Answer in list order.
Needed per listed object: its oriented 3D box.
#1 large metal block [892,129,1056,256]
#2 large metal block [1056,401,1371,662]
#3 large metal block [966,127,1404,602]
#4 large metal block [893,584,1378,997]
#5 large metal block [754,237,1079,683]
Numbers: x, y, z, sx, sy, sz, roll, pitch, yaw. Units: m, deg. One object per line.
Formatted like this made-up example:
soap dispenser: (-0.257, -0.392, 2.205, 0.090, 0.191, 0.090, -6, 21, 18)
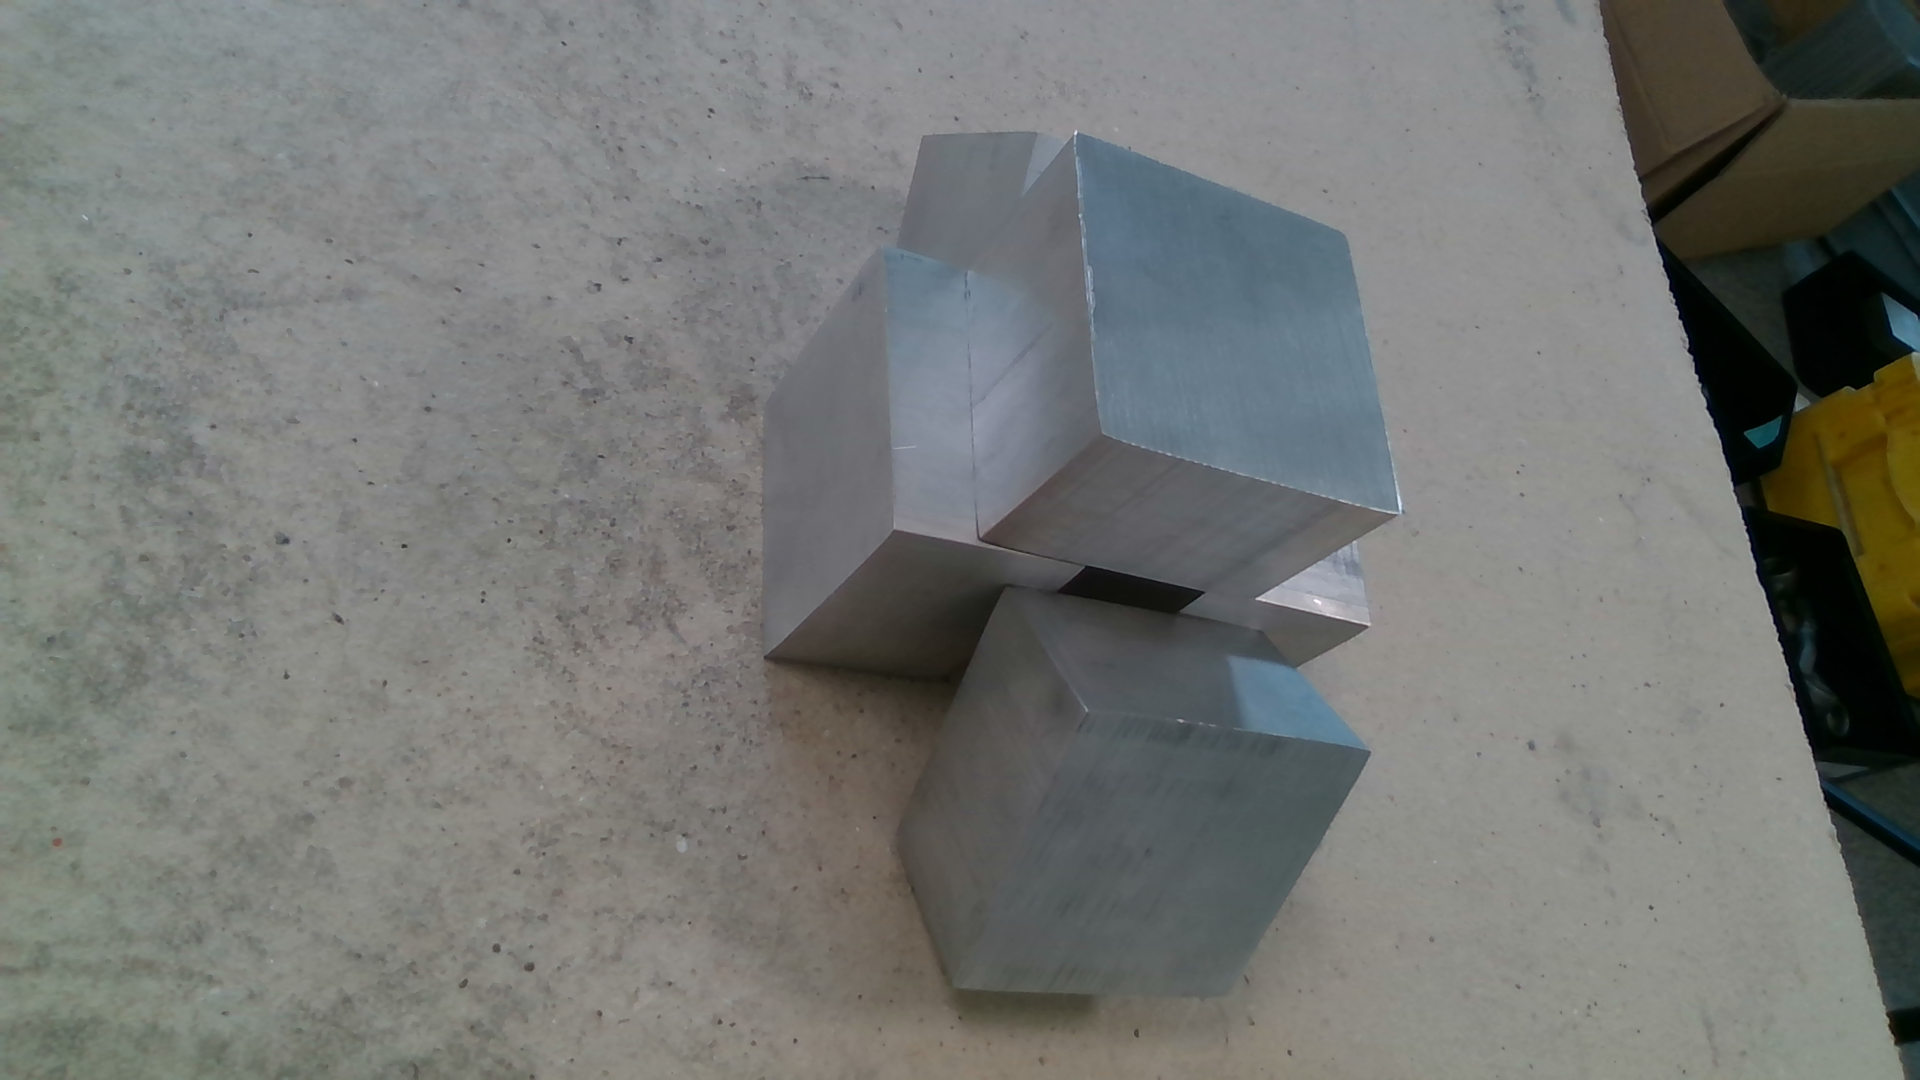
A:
large metal block: (0.032, -0.086, 0.415, 0.080, 0.080, 0.050, 11, 100, -27)
large metal block: (0.065, 0.000, 0.399, 0.050, 0.080, 0.080, 12, 60, -26)
large metal block: (0.050, -0.038, 0.325, 0.080, 0.050, 0.080, 12, 59, -26)
large metal block: (0.040, 0.064, 0.339, 0.080, 0.080, 0.050, 11, 26, -27)
large metal block: (-0.016, -0.017, 0.359, 0.050, 0.080, 0.080, 11, 60, -27)
